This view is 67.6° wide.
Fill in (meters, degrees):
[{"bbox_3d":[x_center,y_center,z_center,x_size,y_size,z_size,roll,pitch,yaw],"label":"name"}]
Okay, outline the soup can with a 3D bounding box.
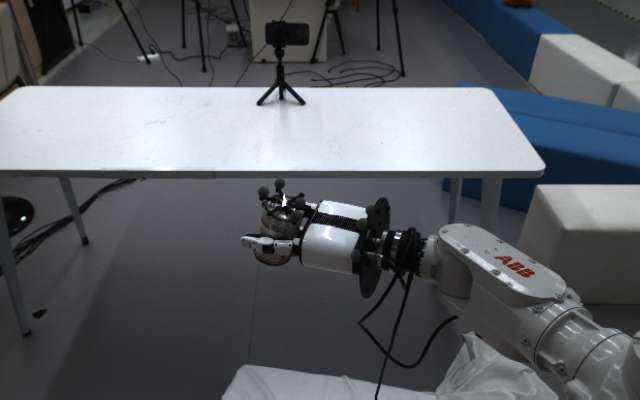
[{"bbox_3d":[-0.068,0.052,0.797,0.067,0.101,0.067,13,35,-9],"label":"soup can"}]
